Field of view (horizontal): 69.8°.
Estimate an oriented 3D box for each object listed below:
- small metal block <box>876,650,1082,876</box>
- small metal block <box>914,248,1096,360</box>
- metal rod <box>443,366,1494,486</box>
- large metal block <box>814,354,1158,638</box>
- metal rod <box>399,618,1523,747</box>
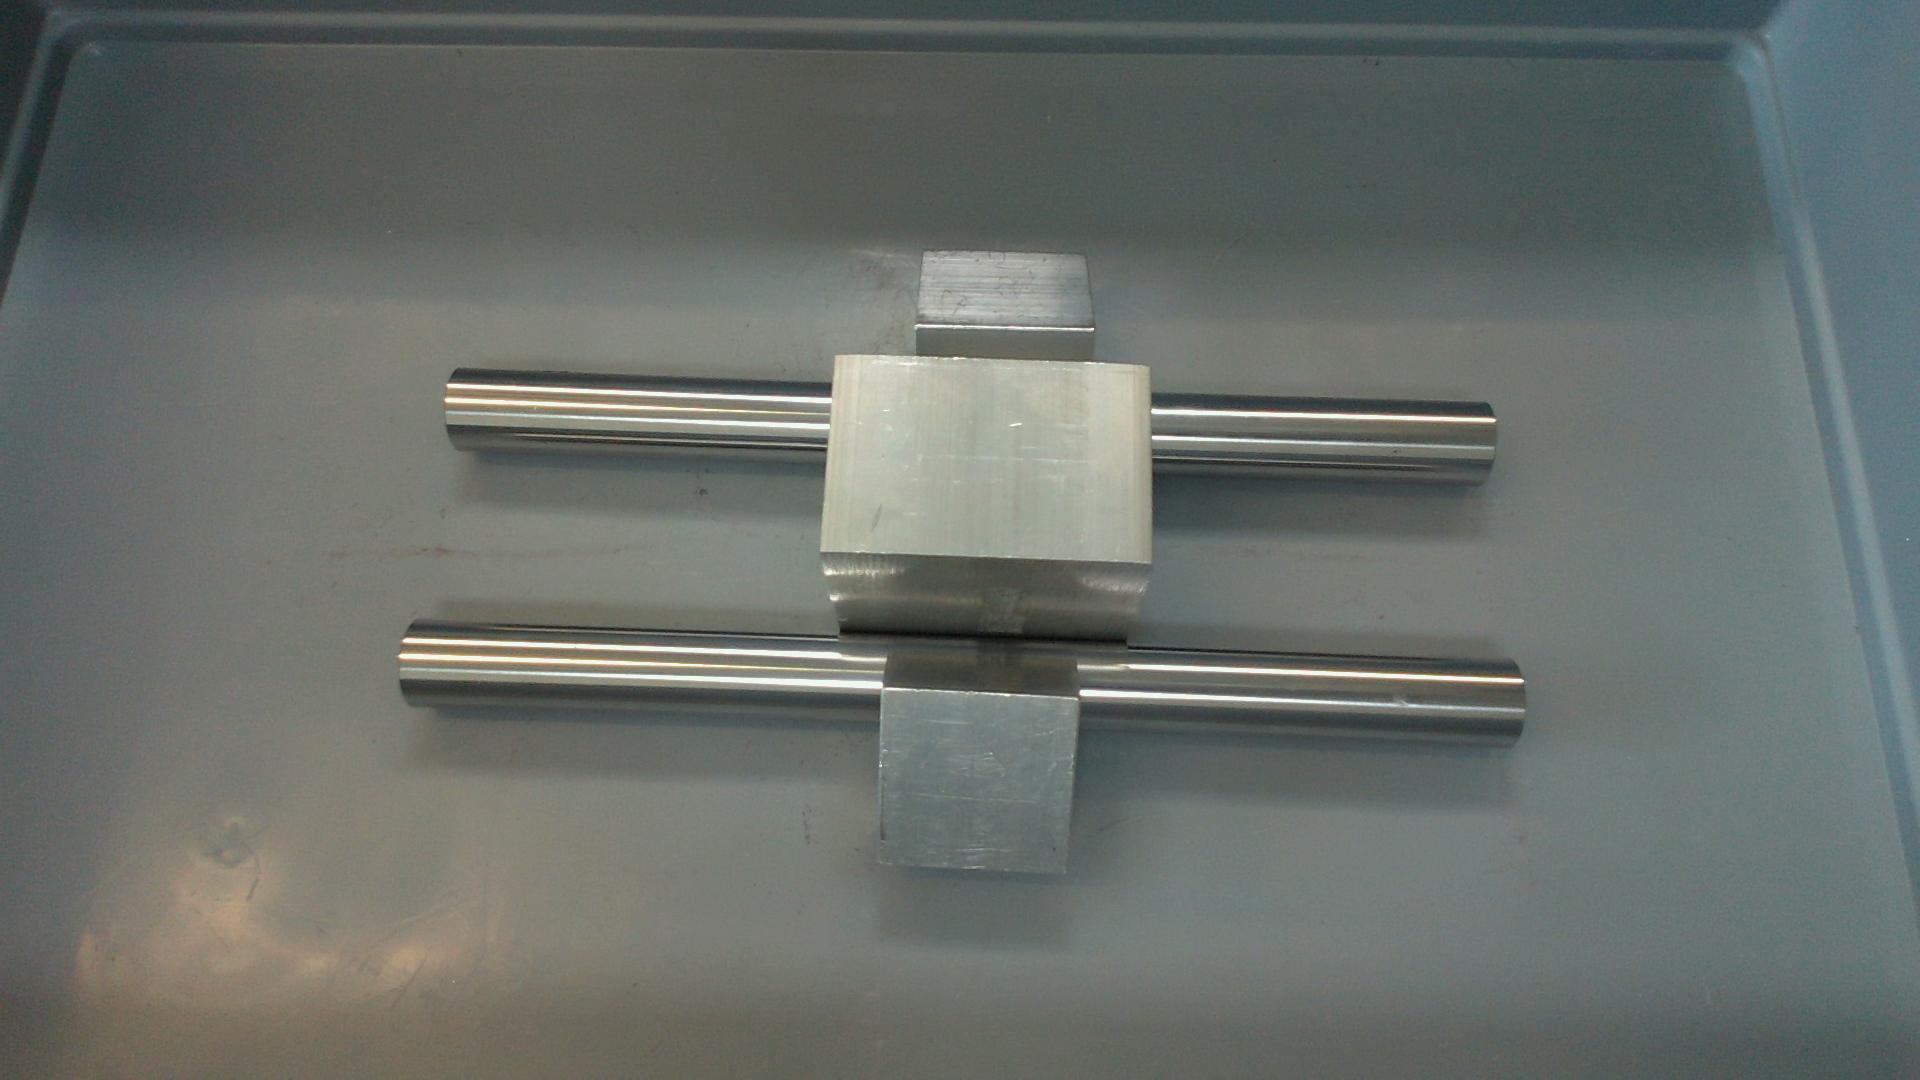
[{"bbox_3d":[0.005,0.058,0.359,0.050,0.025,0.050,3,107,1],"label":"small metal block"},{"bbox_3d":[0.013,-0.064,0.404,0.050,0.025,0.050,1,35,0],"label":"small metal block"},{"bbox_3d":[0.002,-0.033,0.405,0.300,0.025,0.025,2,70,1],"label":"metal rod"},{"bbox_3d":[0.007,-0.007,0.366,0.080,0.080,0.050,2,70,1],"label":"large metal block"},{"bbox_3d":[0.000,0.039,0.379,0.300,0.025,0.025,2,70,1],"label":"metal rod"}]
